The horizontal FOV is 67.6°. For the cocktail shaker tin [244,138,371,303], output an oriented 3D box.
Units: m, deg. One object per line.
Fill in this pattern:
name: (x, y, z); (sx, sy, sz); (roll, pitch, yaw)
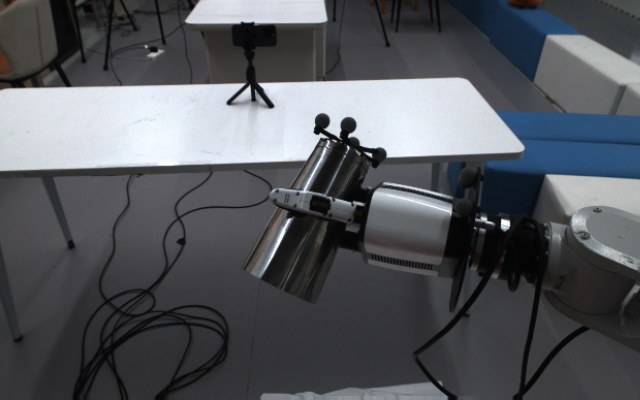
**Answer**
cocktail shaker tin: (-0.007, 0.018, 0.548); (0.093, 0.093, 0.170); (21, 81, 25)
